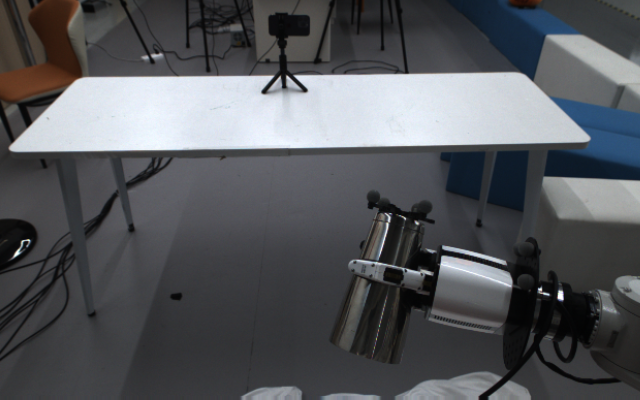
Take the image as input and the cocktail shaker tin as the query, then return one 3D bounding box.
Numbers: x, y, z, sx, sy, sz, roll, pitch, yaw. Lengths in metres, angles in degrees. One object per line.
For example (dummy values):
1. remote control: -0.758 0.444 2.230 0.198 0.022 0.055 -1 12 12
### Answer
1. cocktail shaker tin: 0.078 0.105 0.608 0.093 0.170 0.093 16 -7 2
